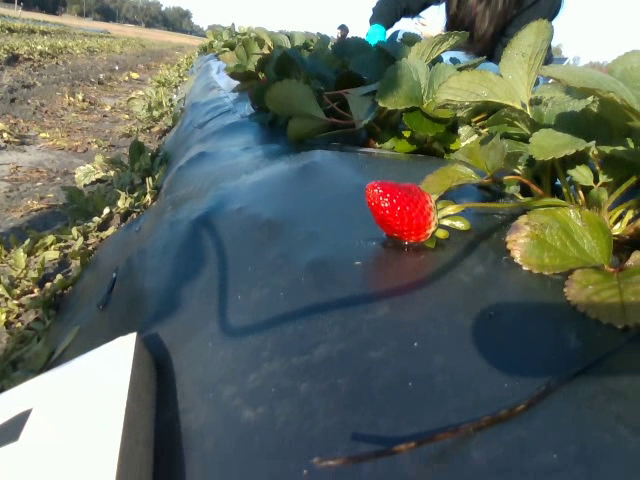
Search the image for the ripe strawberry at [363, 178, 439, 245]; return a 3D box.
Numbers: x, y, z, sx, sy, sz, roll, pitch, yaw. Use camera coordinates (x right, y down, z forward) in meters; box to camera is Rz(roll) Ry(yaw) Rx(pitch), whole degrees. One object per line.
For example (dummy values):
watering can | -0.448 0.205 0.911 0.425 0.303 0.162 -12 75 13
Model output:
ripe strawberry | 0.031 -0.014 0.242 0.041 0.031 0.028 33 -18 -32
